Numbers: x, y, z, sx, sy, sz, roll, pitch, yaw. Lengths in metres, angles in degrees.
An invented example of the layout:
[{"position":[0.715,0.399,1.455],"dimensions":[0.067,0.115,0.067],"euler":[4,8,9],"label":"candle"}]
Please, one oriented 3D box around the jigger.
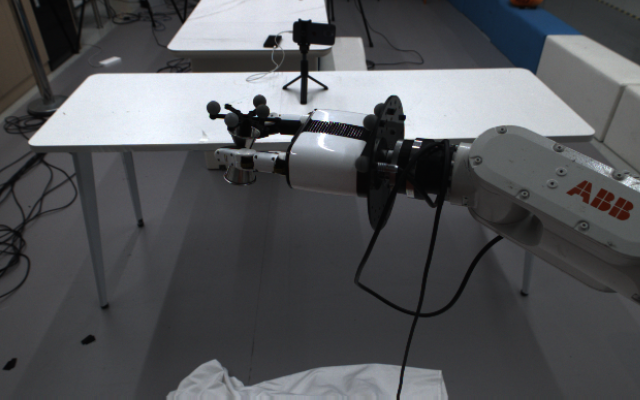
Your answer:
[{"position":[-0.101,-0.058,0.628],"dimensions":[0.043,0.071,0.043],"euler":[9,30,-5],"label":"jigger"}]
